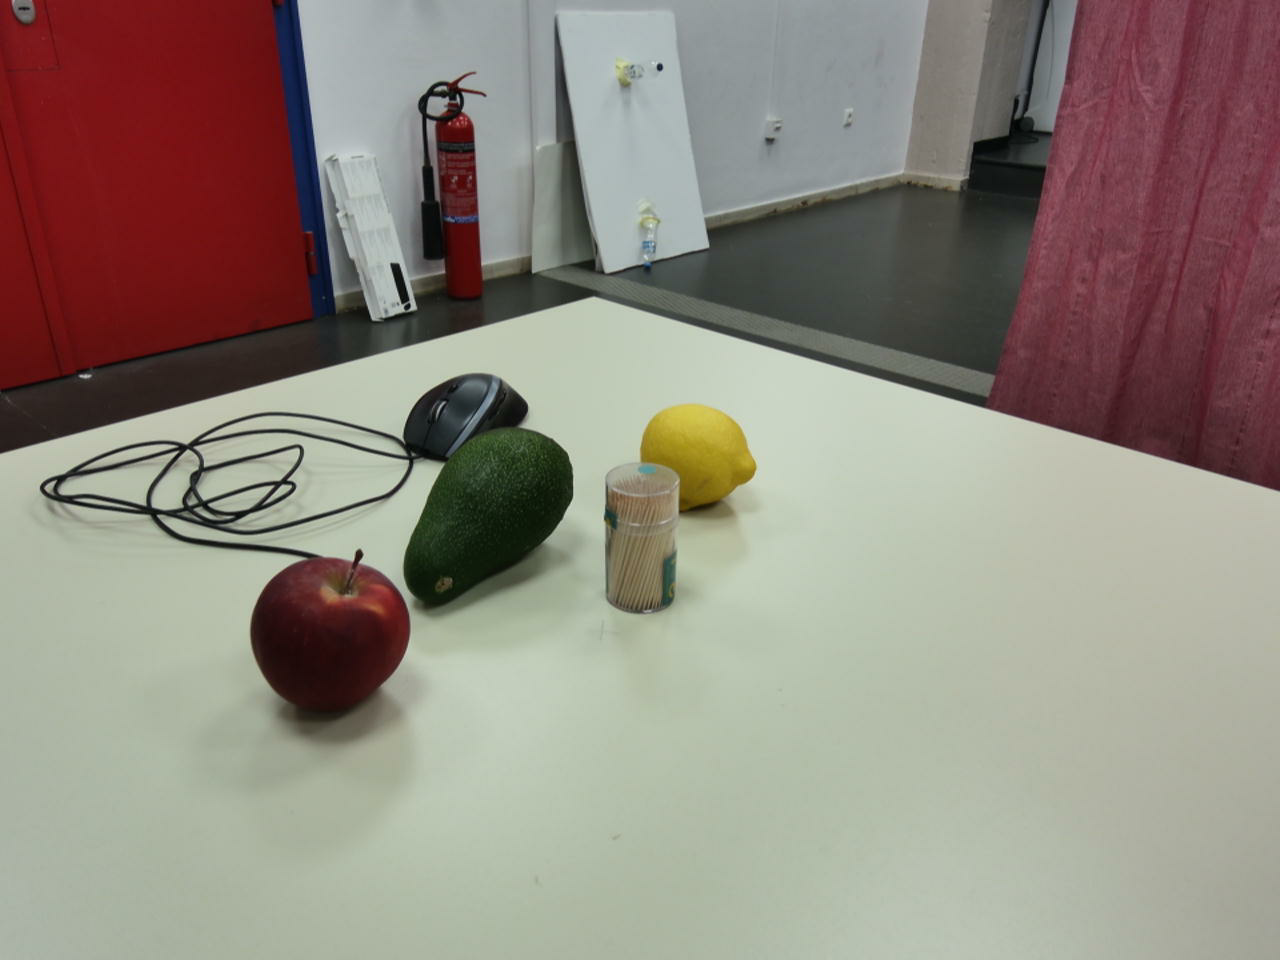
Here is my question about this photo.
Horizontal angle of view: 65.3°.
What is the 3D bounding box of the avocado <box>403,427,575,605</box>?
[{"bbox_3d":[-0.091,0.013,0.570,0.123,0.076,0.074,-20,32,-38],"label":"avocado"}]
